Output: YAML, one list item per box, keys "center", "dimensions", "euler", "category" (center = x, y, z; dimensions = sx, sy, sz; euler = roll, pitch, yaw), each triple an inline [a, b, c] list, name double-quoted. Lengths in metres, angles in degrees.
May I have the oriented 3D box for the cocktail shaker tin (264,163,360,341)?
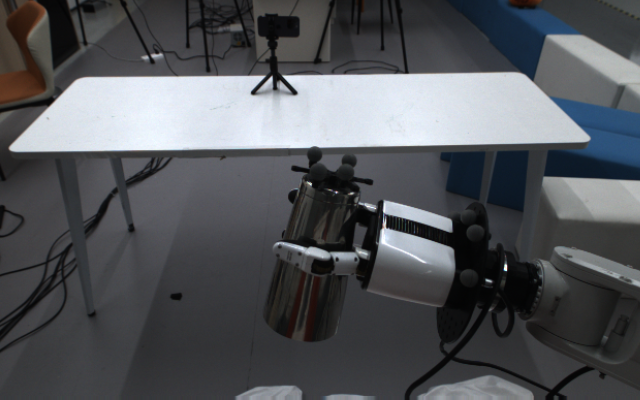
- center: [-0.003, 0.060, 0.544]
  dimensions: [0.093, 0.170, 0.093]
  euler: [11, 19, -4]
  category: "cocktail shaker tin"
